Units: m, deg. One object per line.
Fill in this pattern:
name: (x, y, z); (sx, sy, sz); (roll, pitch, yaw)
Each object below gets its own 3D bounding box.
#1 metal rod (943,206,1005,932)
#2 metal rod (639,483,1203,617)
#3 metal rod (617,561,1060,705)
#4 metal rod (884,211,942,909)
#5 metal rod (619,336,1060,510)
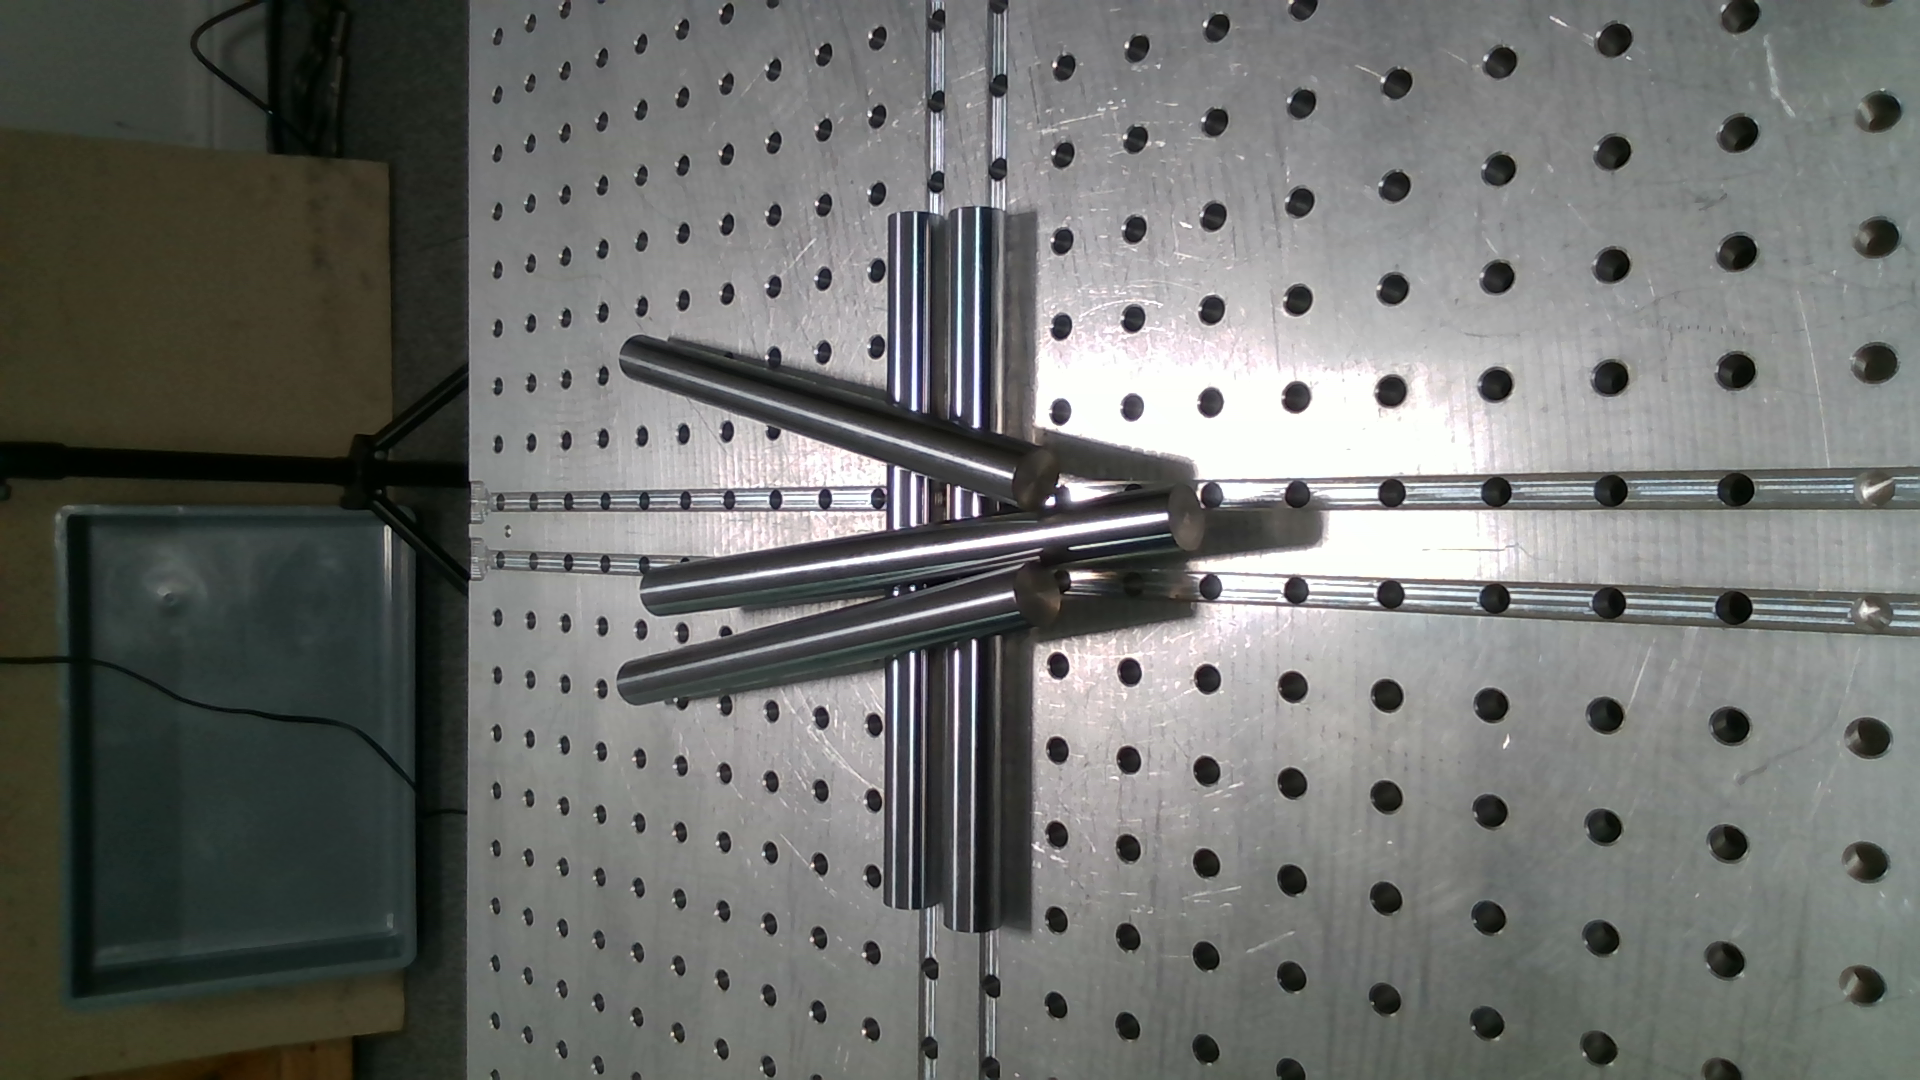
metal rod: (0.006, 0.013, 0.580); (0.025, 0.025, 0.300); (1, 91, 40)
metal rod: (-0.034, 0.009, 0.582); (0.300, 0.025, 0.025); (-8, 85, 40)
metal rod: (-0.071, 0.048, 0.621); (0.300, 0.025, 0.025); (-15, 80, 46)
metal rod: (-0.020, 0.009, 0.603); (0.025, 0.025, 0.300); (1, 91, 40)
metal rod: (-0.070, -0.059, 0.620); (0.300, 0.025, 0.025); (20, 103, 46)
